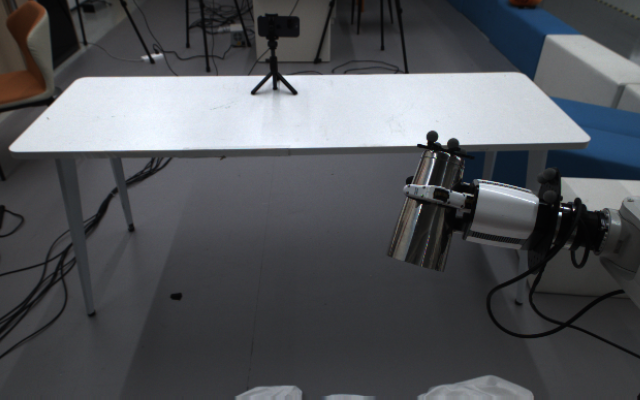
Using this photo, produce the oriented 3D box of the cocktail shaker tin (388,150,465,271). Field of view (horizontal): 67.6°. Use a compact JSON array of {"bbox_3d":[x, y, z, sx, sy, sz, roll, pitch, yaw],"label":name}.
[{"bbox_3d":[0.169,0.014,0.740,0.093,0.170,0.093,16,-2,1],"label":"cocktail shaker tin"}]
